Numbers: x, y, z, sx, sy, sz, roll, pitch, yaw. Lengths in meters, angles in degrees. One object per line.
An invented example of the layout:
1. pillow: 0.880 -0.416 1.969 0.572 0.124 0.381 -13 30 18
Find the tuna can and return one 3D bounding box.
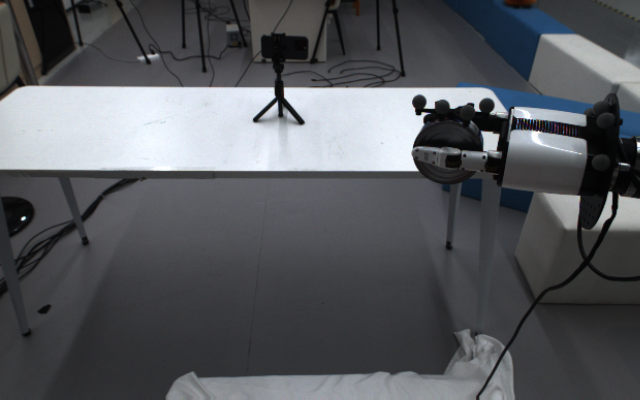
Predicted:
1. tuna can: 0.165 -0.068 0.617 0.085 0.085 0.034 13 30 15
